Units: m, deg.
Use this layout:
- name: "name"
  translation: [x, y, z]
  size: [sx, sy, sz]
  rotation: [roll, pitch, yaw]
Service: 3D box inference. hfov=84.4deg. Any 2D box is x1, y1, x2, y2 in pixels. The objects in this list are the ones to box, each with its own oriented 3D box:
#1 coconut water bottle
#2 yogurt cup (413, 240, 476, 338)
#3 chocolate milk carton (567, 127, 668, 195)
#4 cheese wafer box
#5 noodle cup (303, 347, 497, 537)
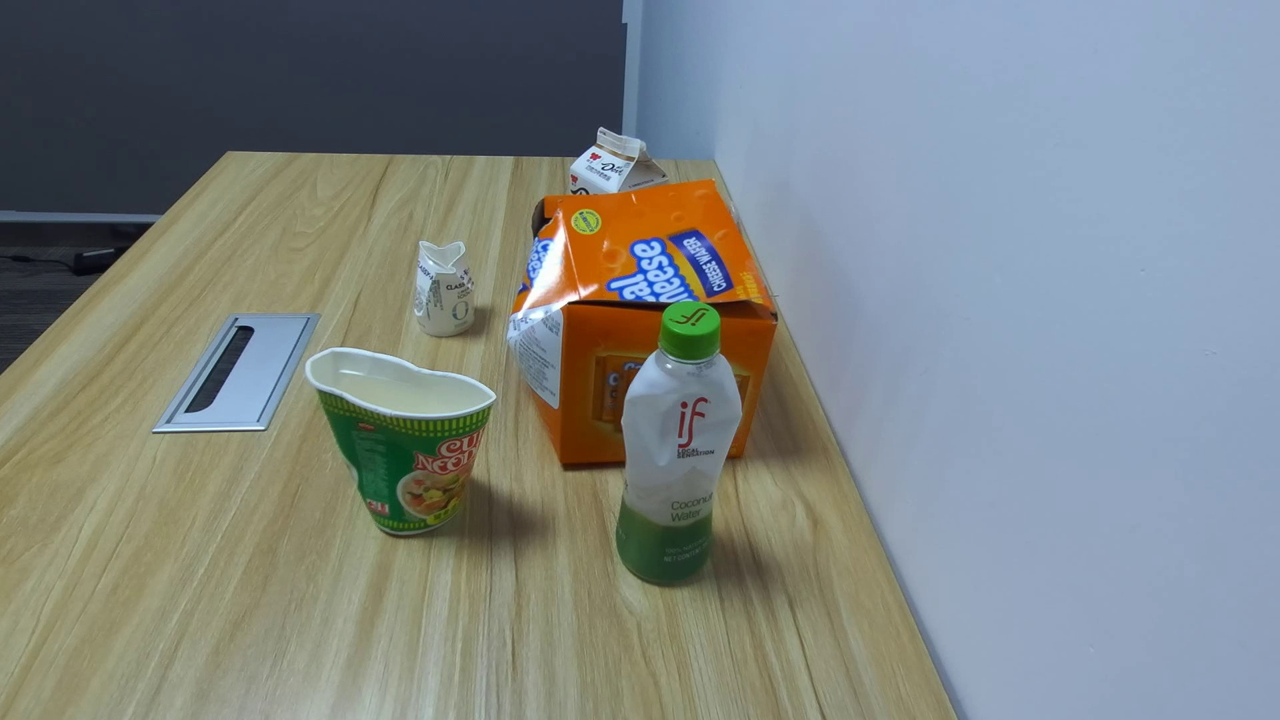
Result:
- name: "coconut water bottle"
  translation: [0.021, 0.051, 0.414]
  size: [0.067, 0.187, 0.067]
  rotation: [3, 38, -2]
- name: "yogurt cup"
  translation: [-0.180, -0.065, 0.649]
  size: [0.055, 0.072, 0.055]
  rotation: [5, 36, -3]
- name: "chocolate milk carton"
  translation: [-0.022, -0.160, 0.720]
  size: [0.074, 0.148, 0.075]
  rotation: [-27, 48, -33]
- name: "cheese wafer box"
  translation: [-0.011, -0.042, 0.574]
  size: [0.191, 0.145, 0.218]
  rotation: [-3, 37, -9]
- name: "noodle cup"
  translation: [-0.154, 0.052, 0.464]
  size: [0.114, 0.111, 0.070]
  rotation: [28, 44, 28]
